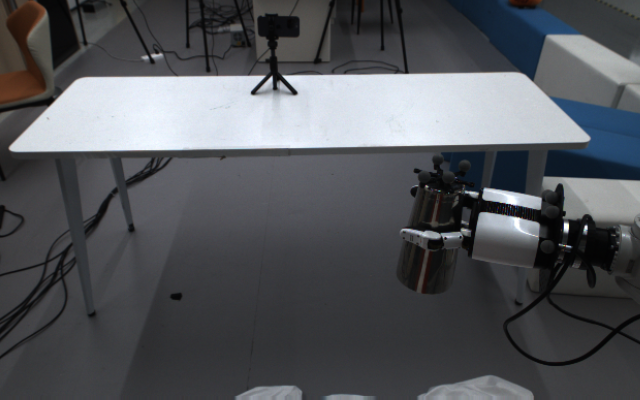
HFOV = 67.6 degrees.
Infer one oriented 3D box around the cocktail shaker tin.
[{"bbox_3d":[0.176,0.047,0.743,0.093,0.170,0.093,2,30,-1],"label":"cocktail shaker tin"}]
